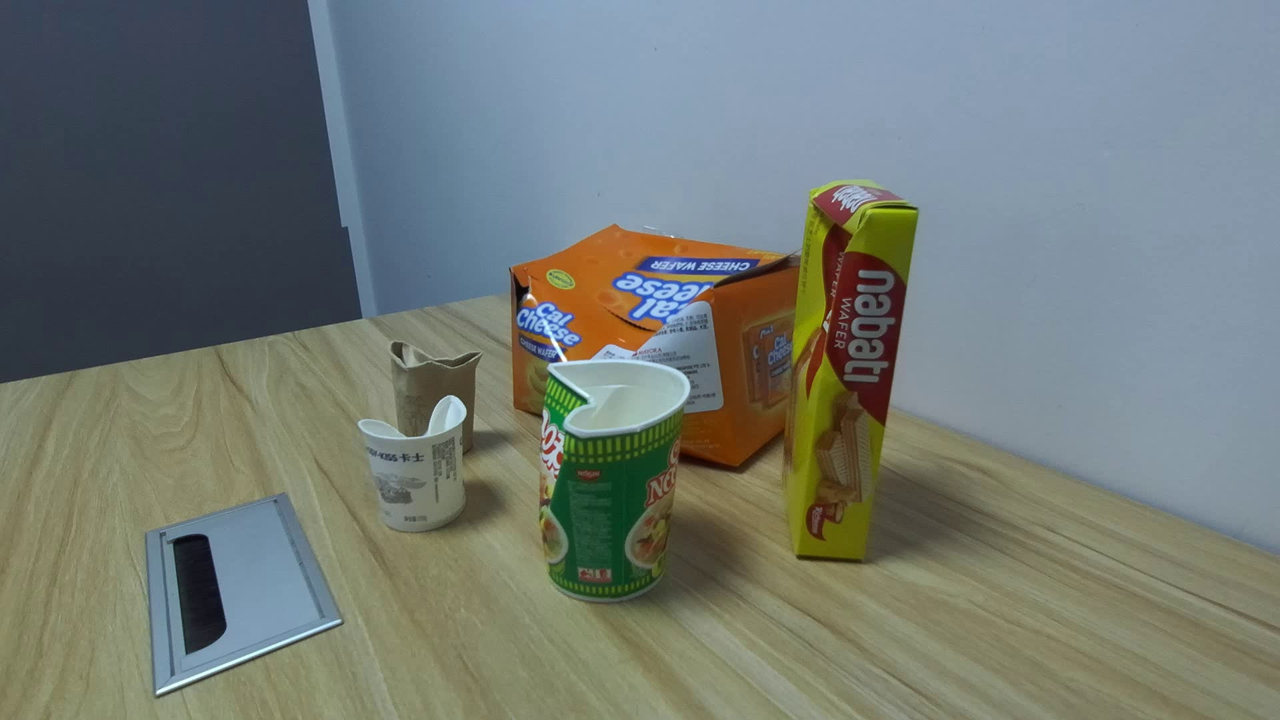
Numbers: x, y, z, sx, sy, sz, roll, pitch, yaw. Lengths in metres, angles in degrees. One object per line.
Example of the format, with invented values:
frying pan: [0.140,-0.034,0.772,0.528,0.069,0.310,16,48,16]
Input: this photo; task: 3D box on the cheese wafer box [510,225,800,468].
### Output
cheese wafer box: [0.013,-0.023,0.571,0.218,0.145,0.192,13,24,33]

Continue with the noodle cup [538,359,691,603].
noodle cup: [-0.016,0.067,0.382,0.087,0.109,0.094,2,22,9]

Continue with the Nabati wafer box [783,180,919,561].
Nabati wafer box: [0.112,0.006,0.405,0.042,0.203,0.096,3,22,6]

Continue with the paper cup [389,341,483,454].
paper cup: [-0.152,0.030,0.531,0.058,0.083,0.066,-10,22,-34]

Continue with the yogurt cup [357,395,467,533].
yogurt cup: [-0.139,0.066,0.450,0.067,0.070,0.067,1,20,0]
